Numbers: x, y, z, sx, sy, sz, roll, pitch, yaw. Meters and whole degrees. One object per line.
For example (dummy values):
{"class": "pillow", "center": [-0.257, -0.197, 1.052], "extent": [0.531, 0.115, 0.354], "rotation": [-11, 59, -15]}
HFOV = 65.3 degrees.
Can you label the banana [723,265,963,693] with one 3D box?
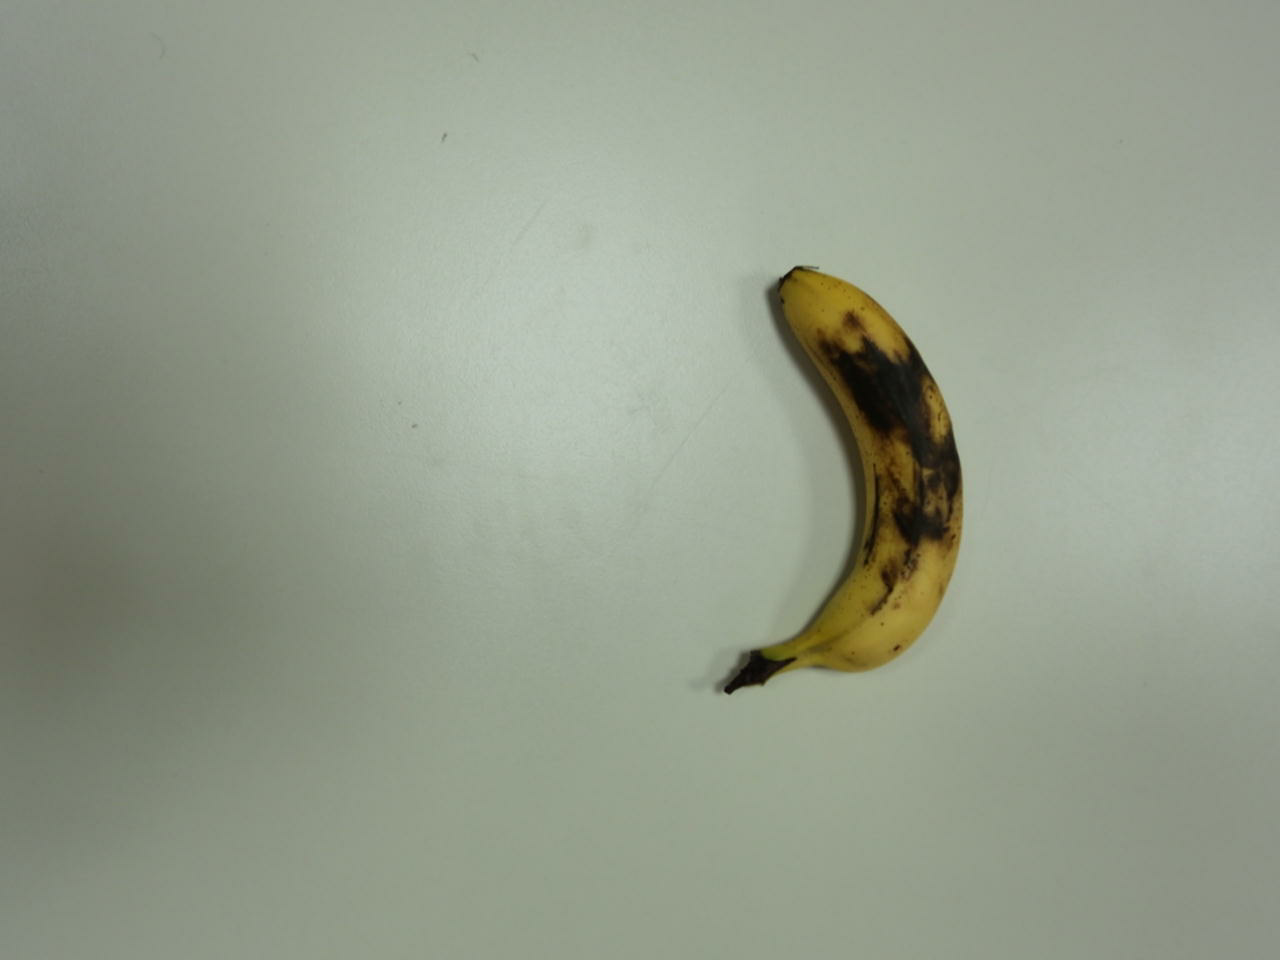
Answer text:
{"class": "banana", "center": [0.095, 0.003, 0.438], "extent": [0.094, 0.039, 0.187], "rotation": [8, 88, -11]}
